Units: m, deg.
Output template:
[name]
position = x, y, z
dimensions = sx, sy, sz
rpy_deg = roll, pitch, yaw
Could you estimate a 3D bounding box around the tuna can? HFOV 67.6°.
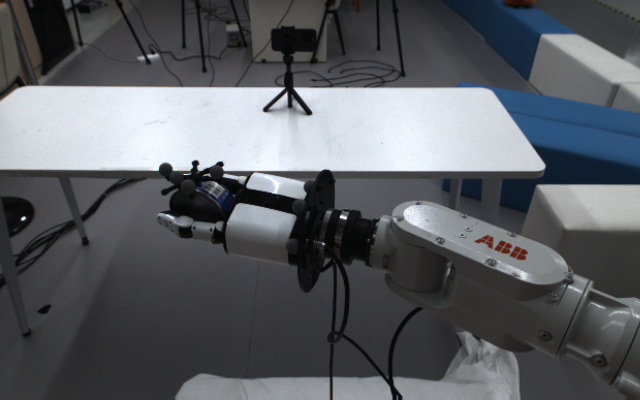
[tuna can]
position = -0.152, 0.012, 0.643
dimensions = 0.085, 0.085, 0.034
rpy_deg = 14, 39, 16
